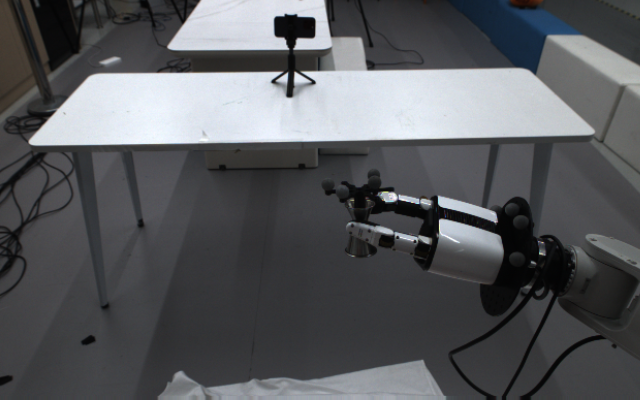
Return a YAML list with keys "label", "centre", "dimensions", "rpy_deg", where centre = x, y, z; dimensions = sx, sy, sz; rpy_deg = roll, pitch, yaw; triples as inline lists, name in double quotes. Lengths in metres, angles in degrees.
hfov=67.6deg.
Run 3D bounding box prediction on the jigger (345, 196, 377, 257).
- label: "jigger"
  centre: [0.053, 0.036, 0.640]
  dimensions: [0.043, 0.071, 0.043]
  rpy_deg: [-2, 19, 1]
